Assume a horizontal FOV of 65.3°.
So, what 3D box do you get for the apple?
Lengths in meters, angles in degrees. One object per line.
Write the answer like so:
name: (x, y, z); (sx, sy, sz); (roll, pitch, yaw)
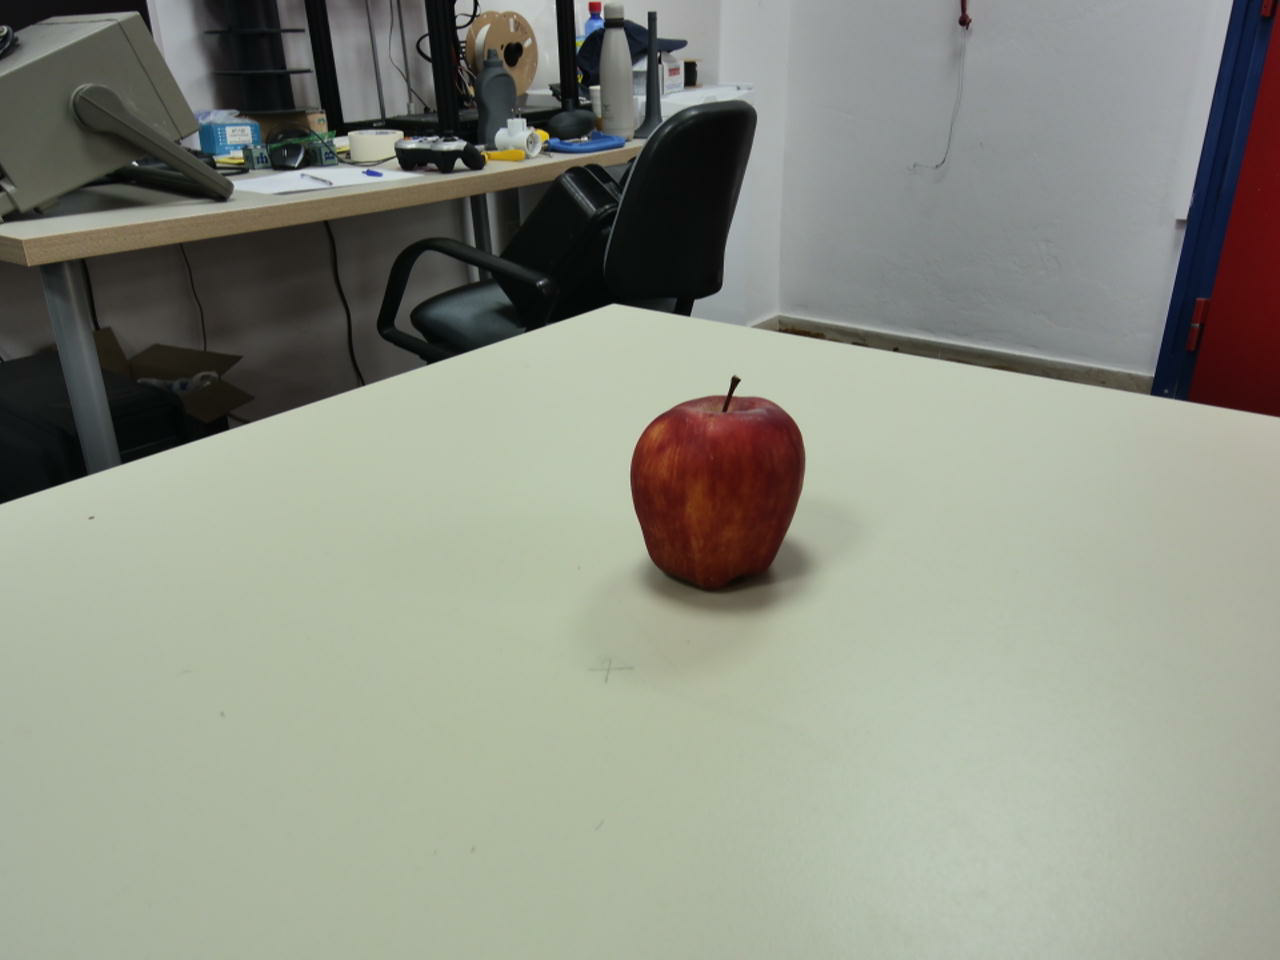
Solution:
apple: (0.036, -0.003, 0.449); (0.083, 0.090, 0.083); (1, 23, -1)
